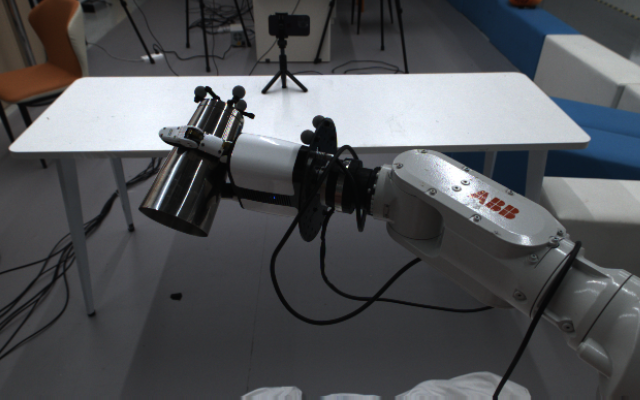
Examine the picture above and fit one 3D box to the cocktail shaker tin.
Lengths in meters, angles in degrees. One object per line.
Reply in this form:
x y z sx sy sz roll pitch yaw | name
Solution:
-0.163 -0.047 0.645 0.093 0.093 0.170 13 70 15 | cocktail shaker tin
